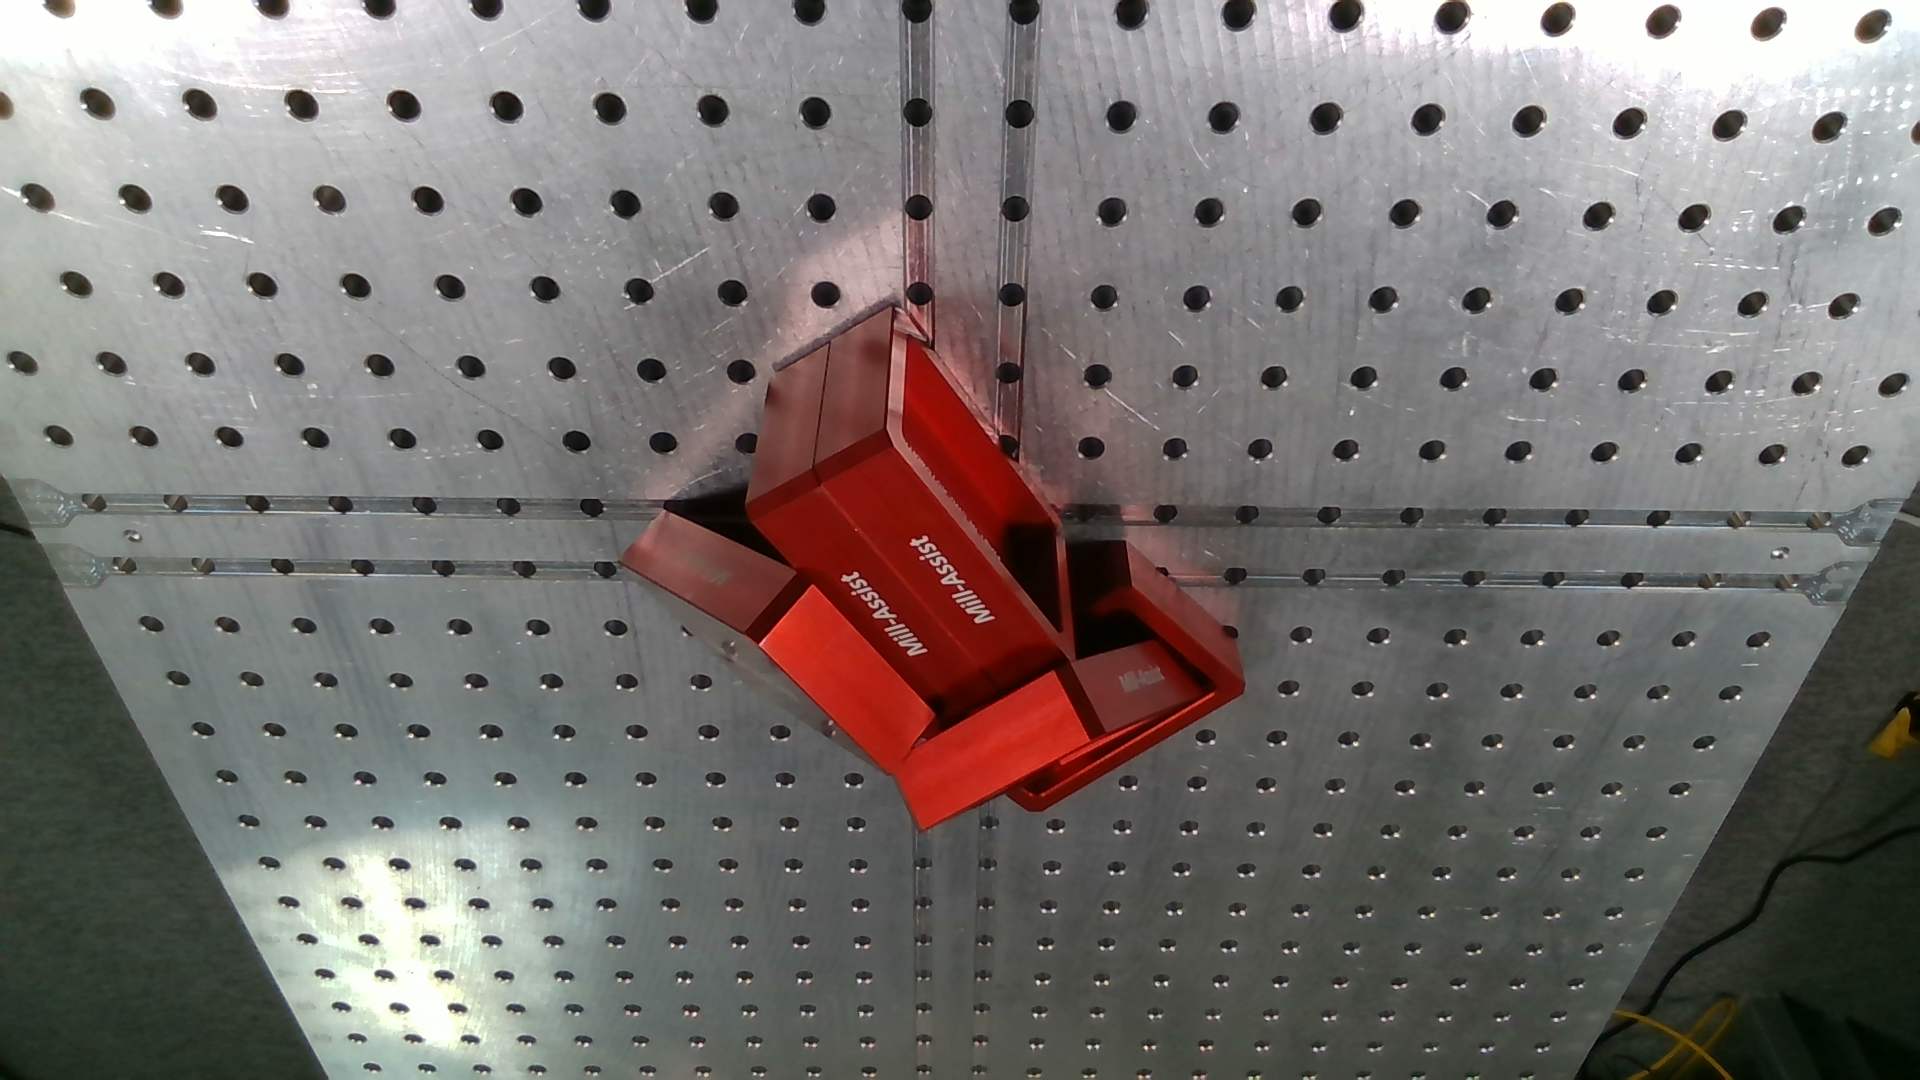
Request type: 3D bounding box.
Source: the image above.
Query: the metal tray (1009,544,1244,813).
[{"bbox_3d":[0.052,0.067,0.634,0.130,0.030,0.090,-36,121,26],"label":"metal tray"}]

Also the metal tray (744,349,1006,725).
[{"bbox_3d":[-0.028,-0.001,0.537,0.030,0.090,0.130,-26,125,20],"label":"metal tray"}]

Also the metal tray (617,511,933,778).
[{"bbox_3d":[-0.077,0.040,0.555,0.030,0.130,0.090,-49,124,-15],"label":"metal tray"}]

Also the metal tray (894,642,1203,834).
[{"bbox_3d":[0.039,0.079,0.574,0.090,0.030,0.130,-32,168,24],"label":"metal tray"}]

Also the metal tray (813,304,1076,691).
[{"bbox_3d":[-0.003,-0.015,0.527,0.030,0.090,0.130,-26,125,20],"label":"metal tray"}]
